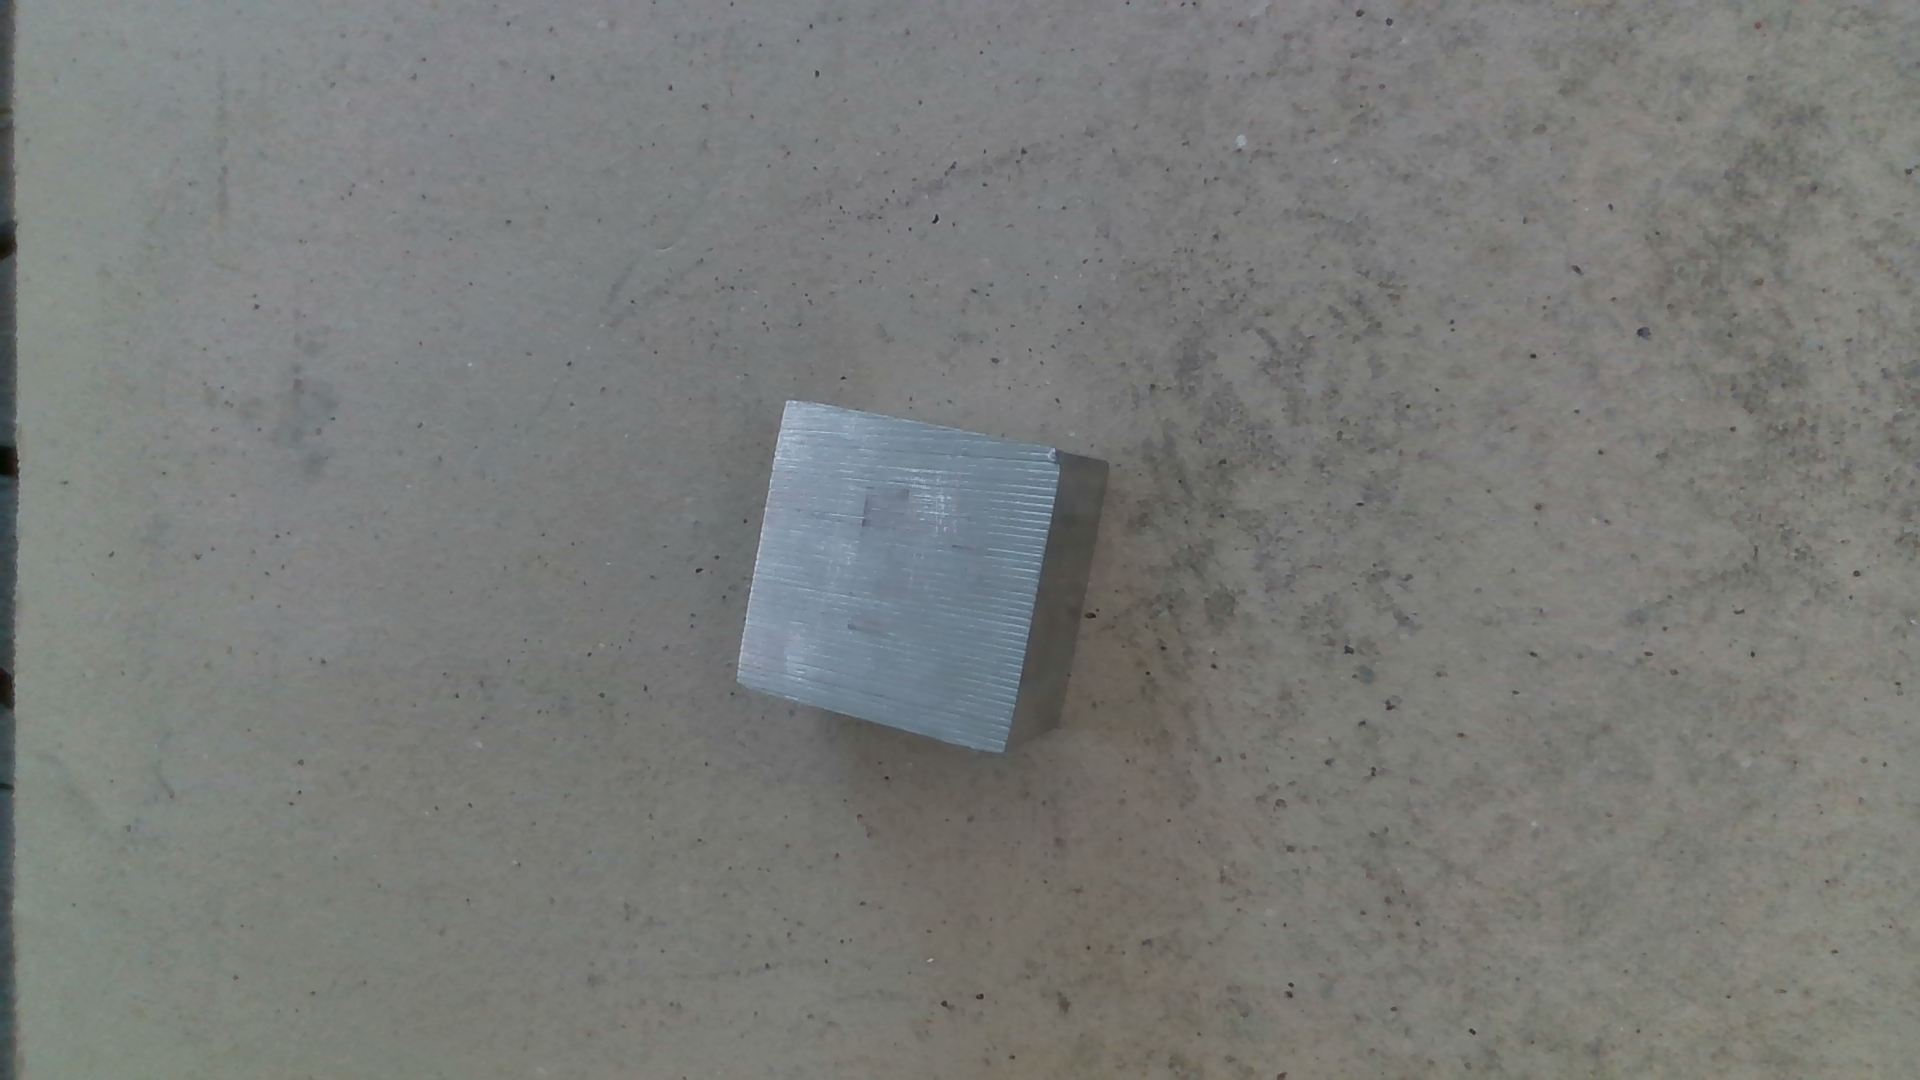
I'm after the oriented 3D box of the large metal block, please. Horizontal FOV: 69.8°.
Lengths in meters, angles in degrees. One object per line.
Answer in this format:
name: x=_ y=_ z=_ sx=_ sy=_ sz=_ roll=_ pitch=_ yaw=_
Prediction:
large metal block: x=-0.010 y=0.008 z=0.384 sx=0.080 sy=0.050 sz=0.080 roll=12 pitch=95 yaw=20
